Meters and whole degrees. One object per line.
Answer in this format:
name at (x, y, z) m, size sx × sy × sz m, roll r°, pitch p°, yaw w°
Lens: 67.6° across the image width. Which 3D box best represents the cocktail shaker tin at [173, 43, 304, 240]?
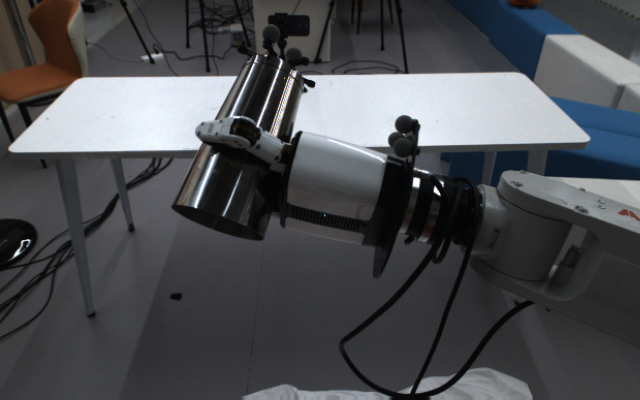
cocktail shaker tin at (-0.071, -0.053, 0.484) m, size 0.093 × 0.093 × 0.170 m, roll 13°, pitch 74°, yaw 16°
